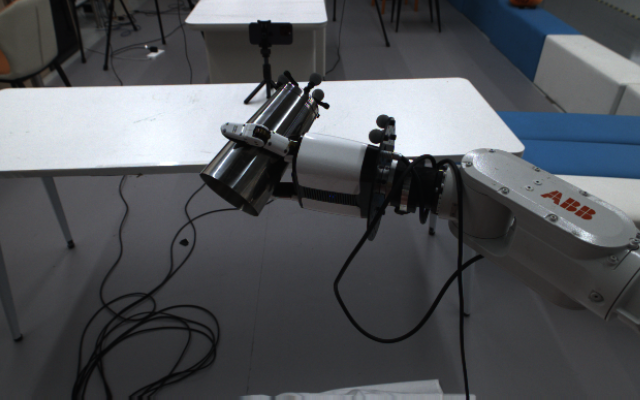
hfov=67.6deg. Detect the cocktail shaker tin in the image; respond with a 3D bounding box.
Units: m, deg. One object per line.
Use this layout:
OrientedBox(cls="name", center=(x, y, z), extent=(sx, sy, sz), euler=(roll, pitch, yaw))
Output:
OrientedBox(cls="cocktail shaker tin", center=(-0.074, -0.077, 0.654), extent=(0.093, 0.093, 0.170), euler=(24, 69, 28))
